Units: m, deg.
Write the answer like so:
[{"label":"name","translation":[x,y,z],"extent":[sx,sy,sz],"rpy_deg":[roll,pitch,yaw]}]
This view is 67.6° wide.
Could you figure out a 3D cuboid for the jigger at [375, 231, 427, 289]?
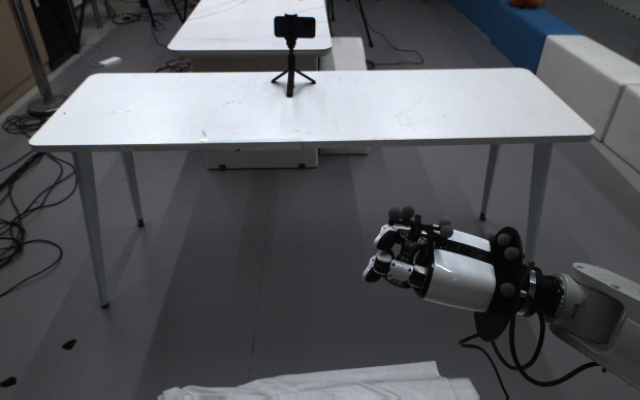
[{"label":"jigger","translation":[0.120,0.079,0.667],"extent":[0.043,0.071,0.043],"rpy_deg":[15,17,-5]}]
